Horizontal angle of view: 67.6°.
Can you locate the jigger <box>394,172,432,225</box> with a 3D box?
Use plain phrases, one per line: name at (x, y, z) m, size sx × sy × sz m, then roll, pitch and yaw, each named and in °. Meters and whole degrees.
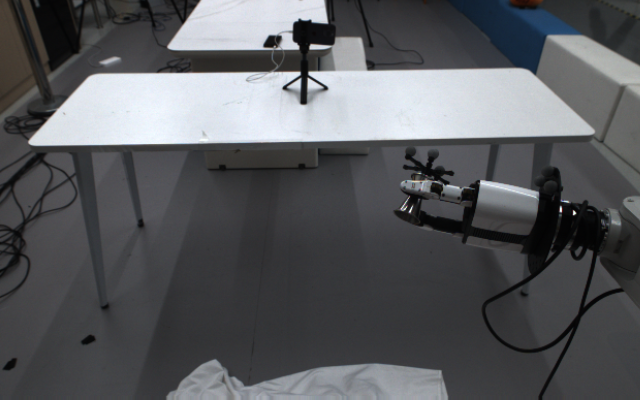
jigger at (0.145, -0.006, 0.741) m, size 0.043 × 0.043 × 0.071 m, roll 21°, pitch 73°, yaw 25°
